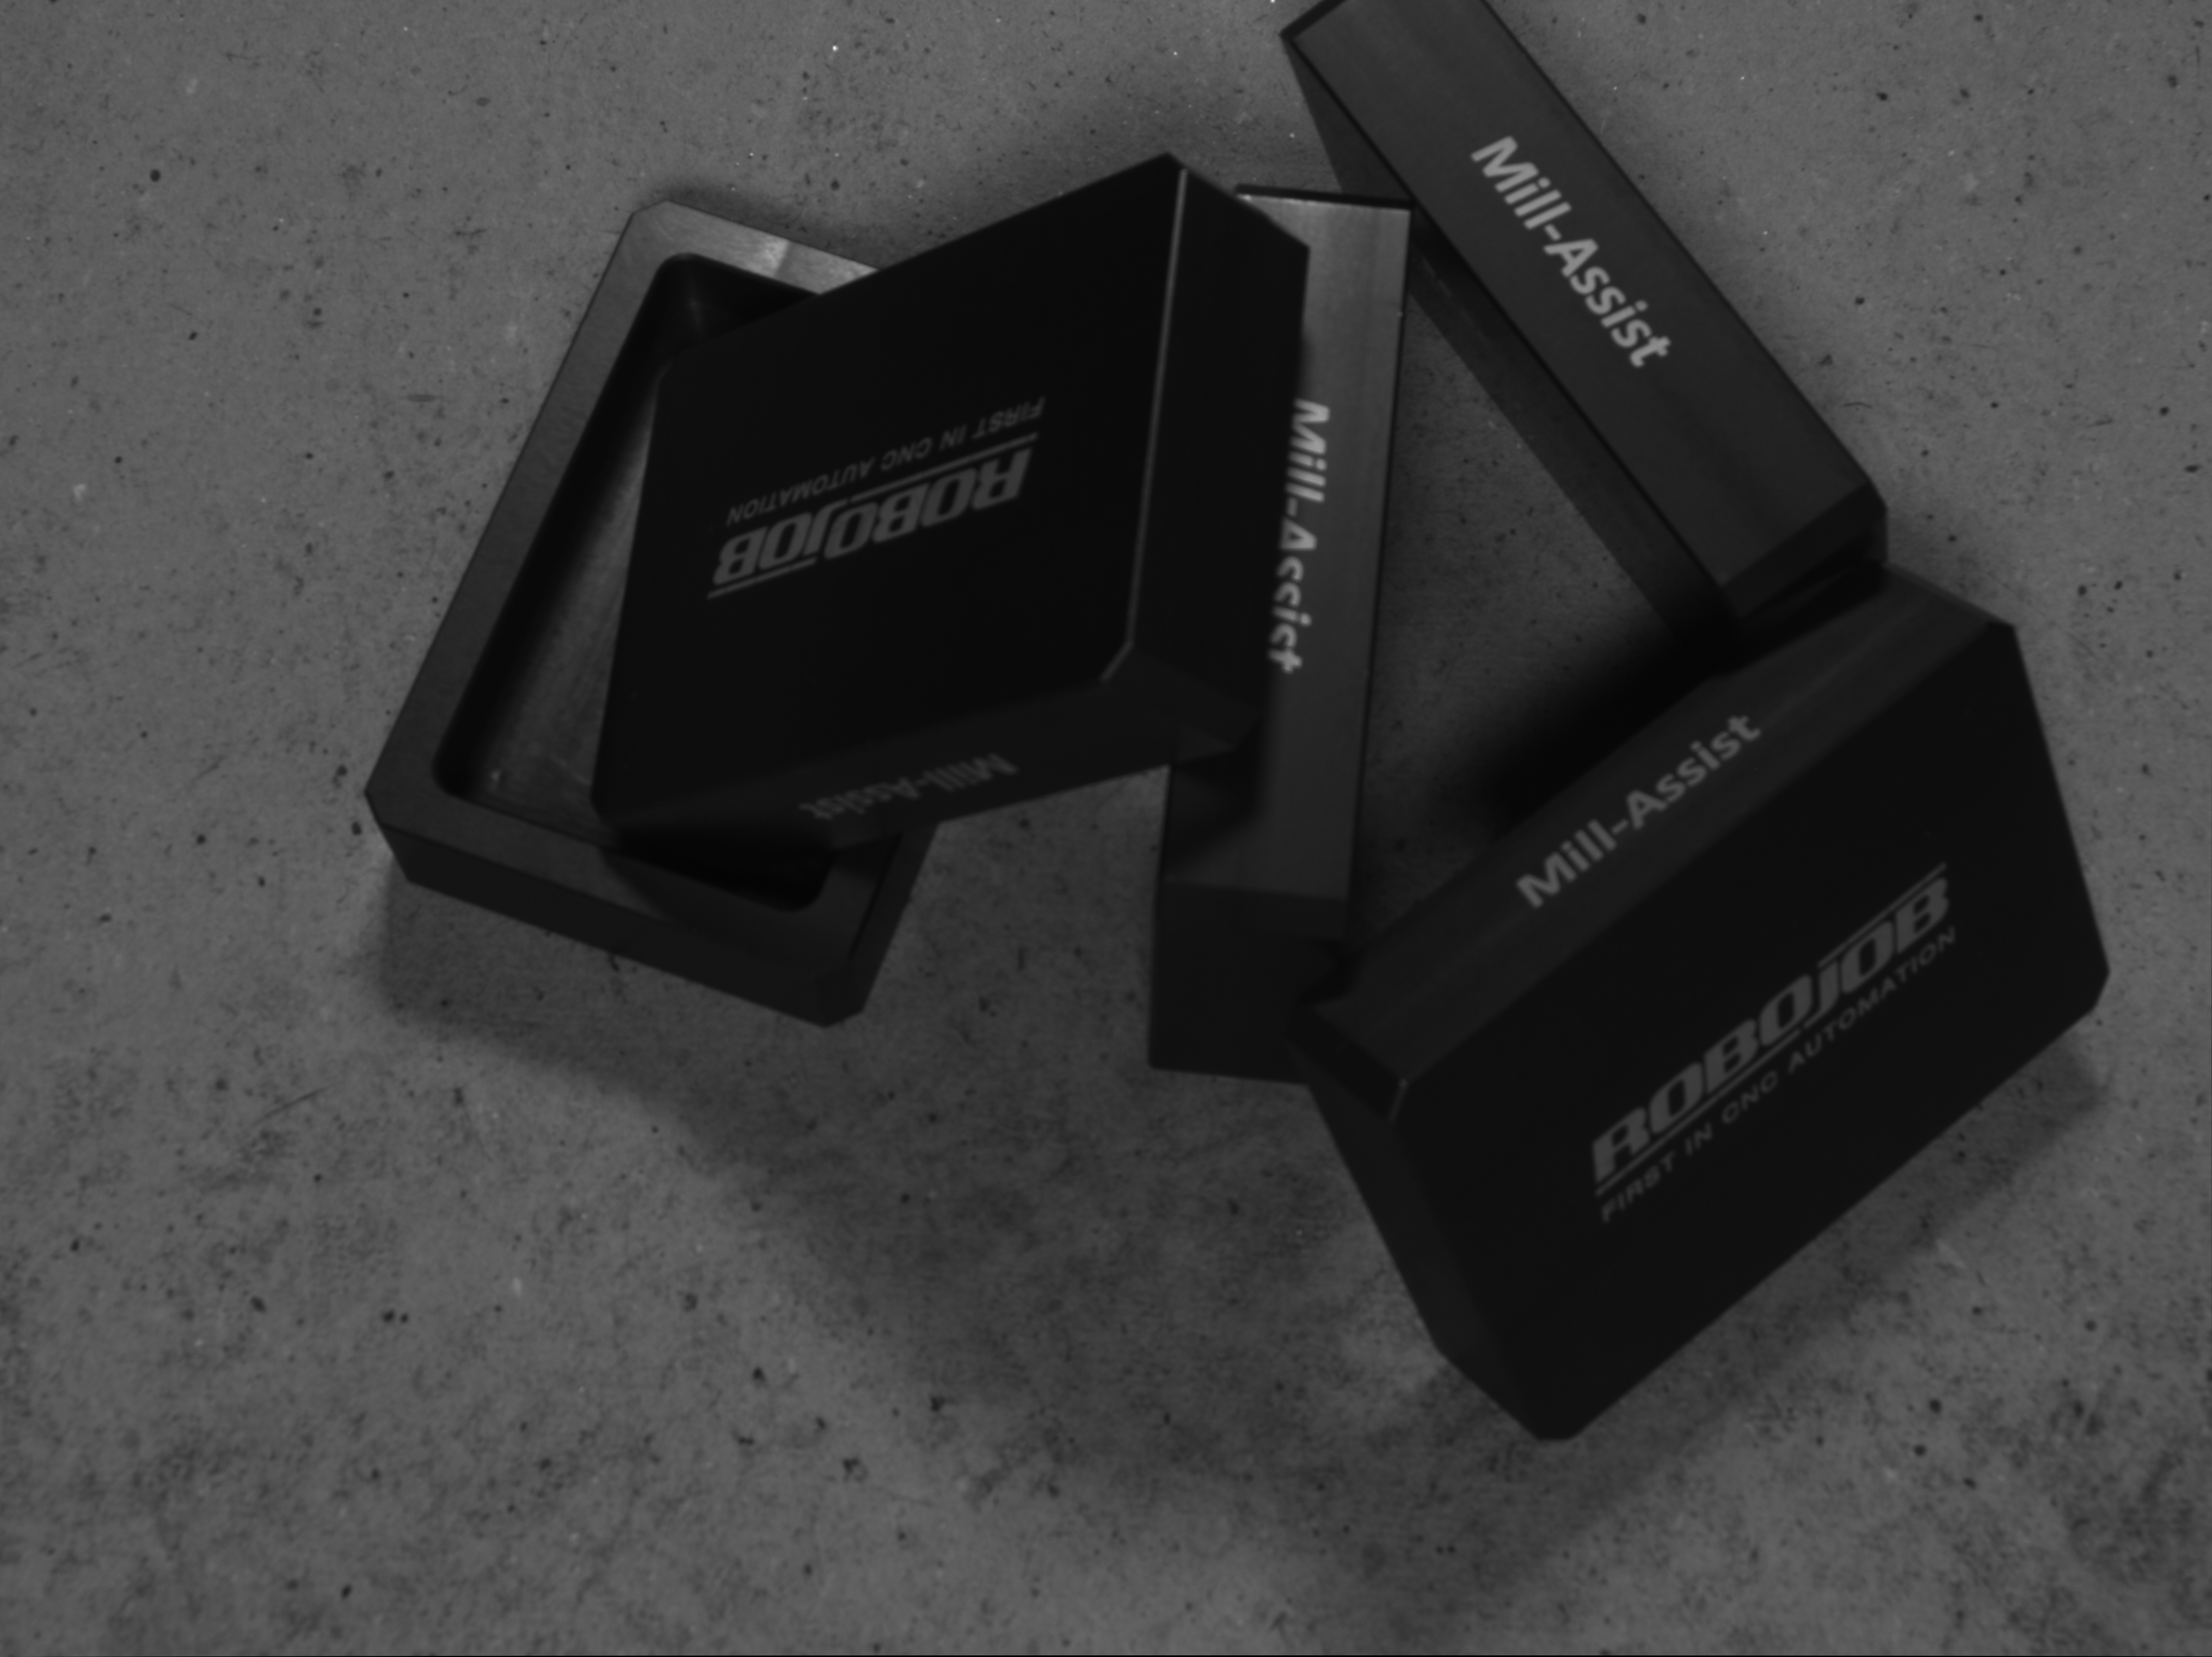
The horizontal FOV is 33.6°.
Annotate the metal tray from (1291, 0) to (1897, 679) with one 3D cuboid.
[{"bbox_3d":[0.087,-0.084,0.639,0.030,0.090,0.130,-36,73,3],"label":"metal tray"}]

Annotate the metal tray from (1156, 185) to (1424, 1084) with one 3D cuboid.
[{"bbox_3d":[0.031,-0.031,0.622,0.030,0.090,0.130,6,70,2],"label":"metal tray"}]

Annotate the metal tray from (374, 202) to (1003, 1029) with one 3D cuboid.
[{"bbox_3d":[-0.063,-0.040,0.657,0.090,0.030,0.130,19,71,7],"label":"metal tray"}]

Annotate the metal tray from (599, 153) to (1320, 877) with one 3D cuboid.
[{"bbox_3d":[-0.026,-0.048,0.602,0.130,0.030,0.090,-13,62,43],"label":"metal tray"}]

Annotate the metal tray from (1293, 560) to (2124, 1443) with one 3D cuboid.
[{"bbox_3d":[0.102,0.029,0.600,0.130,0.090,0.030,-37,39,-12],"label":"metal tray"}]
